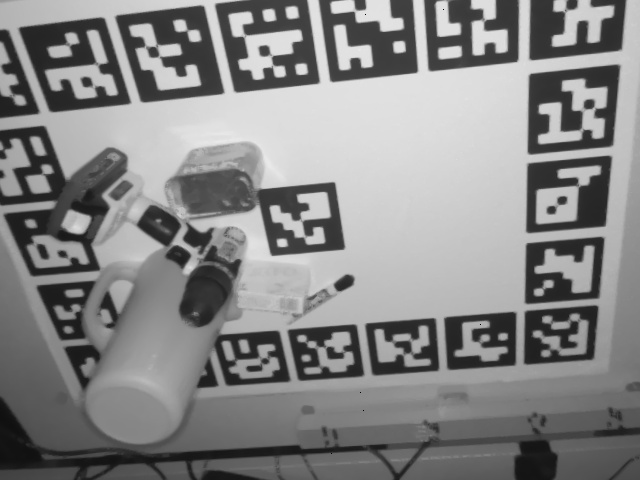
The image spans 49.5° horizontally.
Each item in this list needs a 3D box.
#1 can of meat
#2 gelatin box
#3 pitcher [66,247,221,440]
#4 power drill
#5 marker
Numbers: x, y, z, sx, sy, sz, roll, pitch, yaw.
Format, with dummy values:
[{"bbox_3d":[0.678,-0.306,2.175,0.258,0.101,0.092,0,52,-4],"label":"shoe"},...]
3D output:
[{"bbox_3d":[-0.122,-0.070,0.822,0.101,0.084,0.057,-5,120,7],"label":"can of meat"},{"bbox_3d":[-0.072,0.065,0.903,0.089,0.074,0.030,6,115,3],"label":"gelatin box"},{"bbox_3d":[-0.220,0.118,0.851,0.190,0.244,0.132,22,115,-15],"label":"pitcher"},{"bbox_3d":[-0.184,0.014,0.818,0.187,0.186,0.056,29,115,-5],"label":"power drill"},{"bbox_3d":[-0.009,0.096,0.944,0.120,0.020,0.019,-30,112,17],"label":"marker"}]
